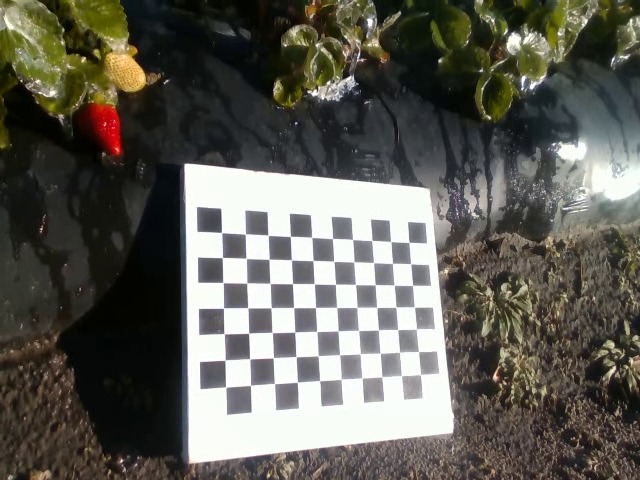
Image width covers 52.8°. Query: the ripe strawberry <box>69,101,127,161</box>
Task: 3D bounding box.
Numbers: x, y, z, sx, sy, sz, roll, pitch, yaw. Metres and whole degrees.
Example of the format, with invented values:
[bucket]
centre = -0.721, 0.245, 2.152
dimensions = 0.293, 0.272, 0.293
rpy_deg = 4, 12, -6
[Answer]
[ripe strawberry]
centre = -0.187, -0.101, 0.571
dimensions = 0.041, 0.052, 0.040
rpy_deg = -17, -11, -32
